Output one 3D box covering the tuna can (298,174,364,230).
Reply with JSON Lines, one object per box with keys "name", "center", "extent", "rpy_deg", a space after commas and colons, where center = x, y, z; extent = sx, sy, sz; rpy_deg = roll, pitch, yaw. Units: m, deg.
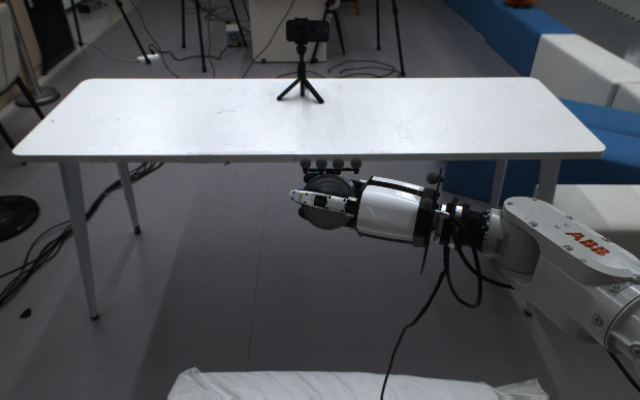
{"name": "tuna can", "center": [0.017, 0.002, 0.743], "extent": [0.085, 0.085, 0.034], "rpy_deg": [12, 8, 14]}
